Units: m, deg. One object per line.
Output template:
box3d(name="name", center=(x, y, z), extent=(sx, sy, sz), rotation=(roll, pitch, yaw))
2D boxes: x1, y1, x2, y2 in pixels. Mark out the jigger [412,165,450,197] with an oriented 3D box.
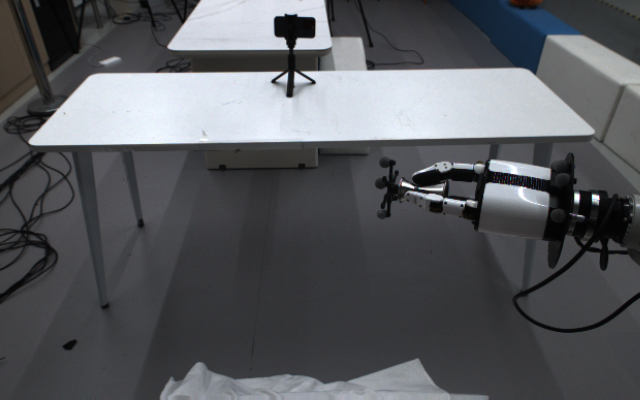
box3d(name="jigger", center=(0.160, -0.015, 0.722), extent=(0.071, 0.043, 0.043), rotation=(7, 34, 22))
